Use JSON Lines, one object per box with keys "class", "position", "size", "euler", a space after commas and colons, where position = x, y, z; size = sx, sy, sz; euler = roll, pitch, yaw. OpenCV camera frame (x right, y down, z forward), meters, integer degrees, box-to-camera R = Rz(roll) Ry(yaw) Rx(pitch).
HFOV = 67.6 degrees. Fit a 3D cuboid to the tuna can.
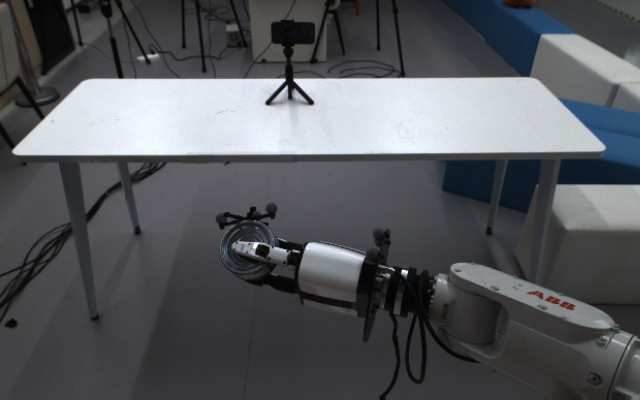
{"class": "tuna can", "position": [-0.100, 0.080, 0.711], "size": [0.085, 0.034, 0.085], "euler": [-4, 68, 9]}
